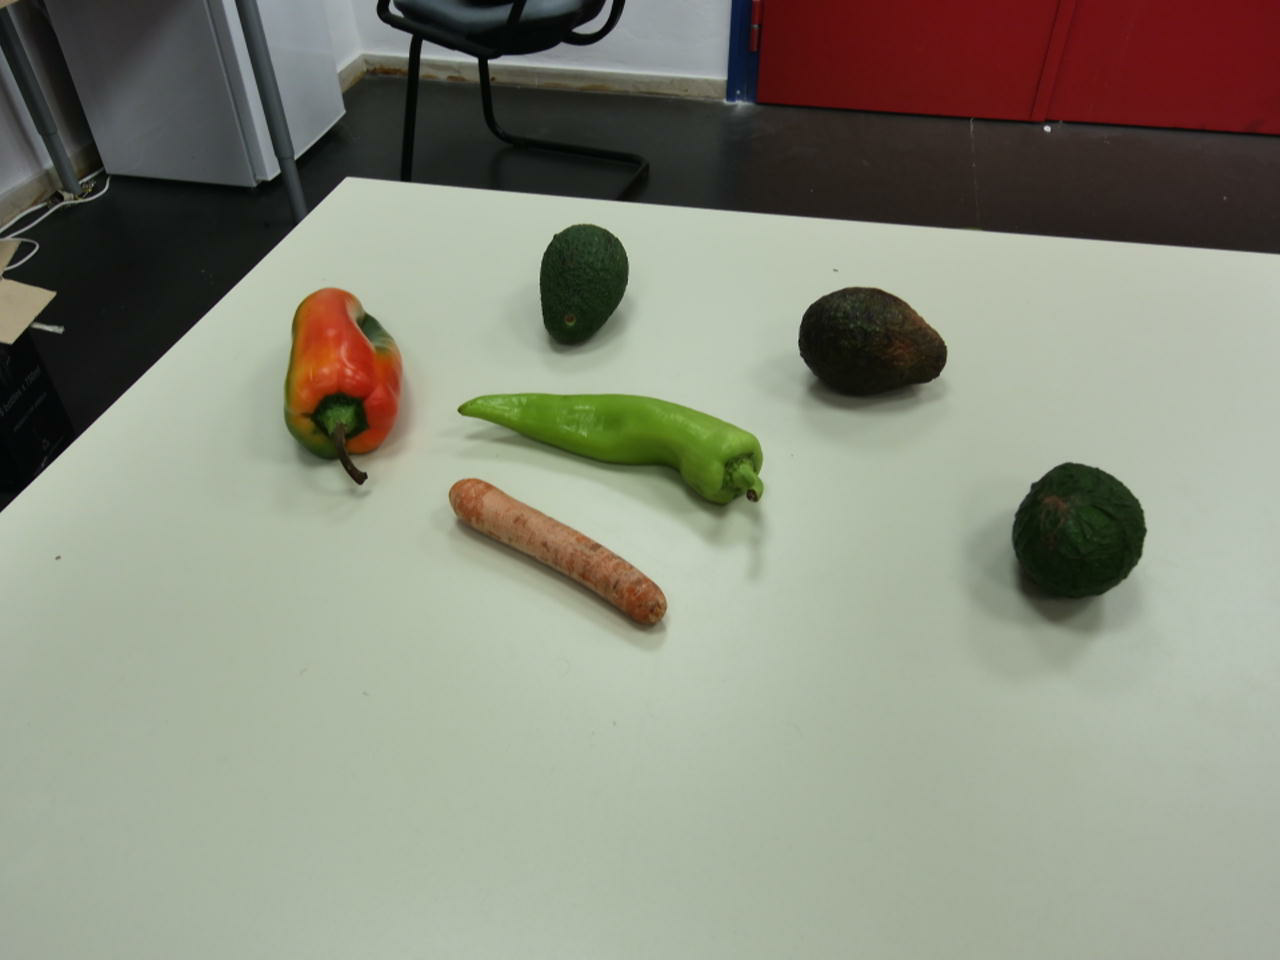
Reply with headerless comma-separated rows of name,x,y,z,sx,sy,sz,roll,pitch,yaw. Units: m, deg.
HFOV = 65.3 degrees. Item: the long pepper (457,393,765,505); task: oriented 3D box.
long pepper,-0.009,-0.029,0.611,0.205,0.045,0.065,19,43,22
